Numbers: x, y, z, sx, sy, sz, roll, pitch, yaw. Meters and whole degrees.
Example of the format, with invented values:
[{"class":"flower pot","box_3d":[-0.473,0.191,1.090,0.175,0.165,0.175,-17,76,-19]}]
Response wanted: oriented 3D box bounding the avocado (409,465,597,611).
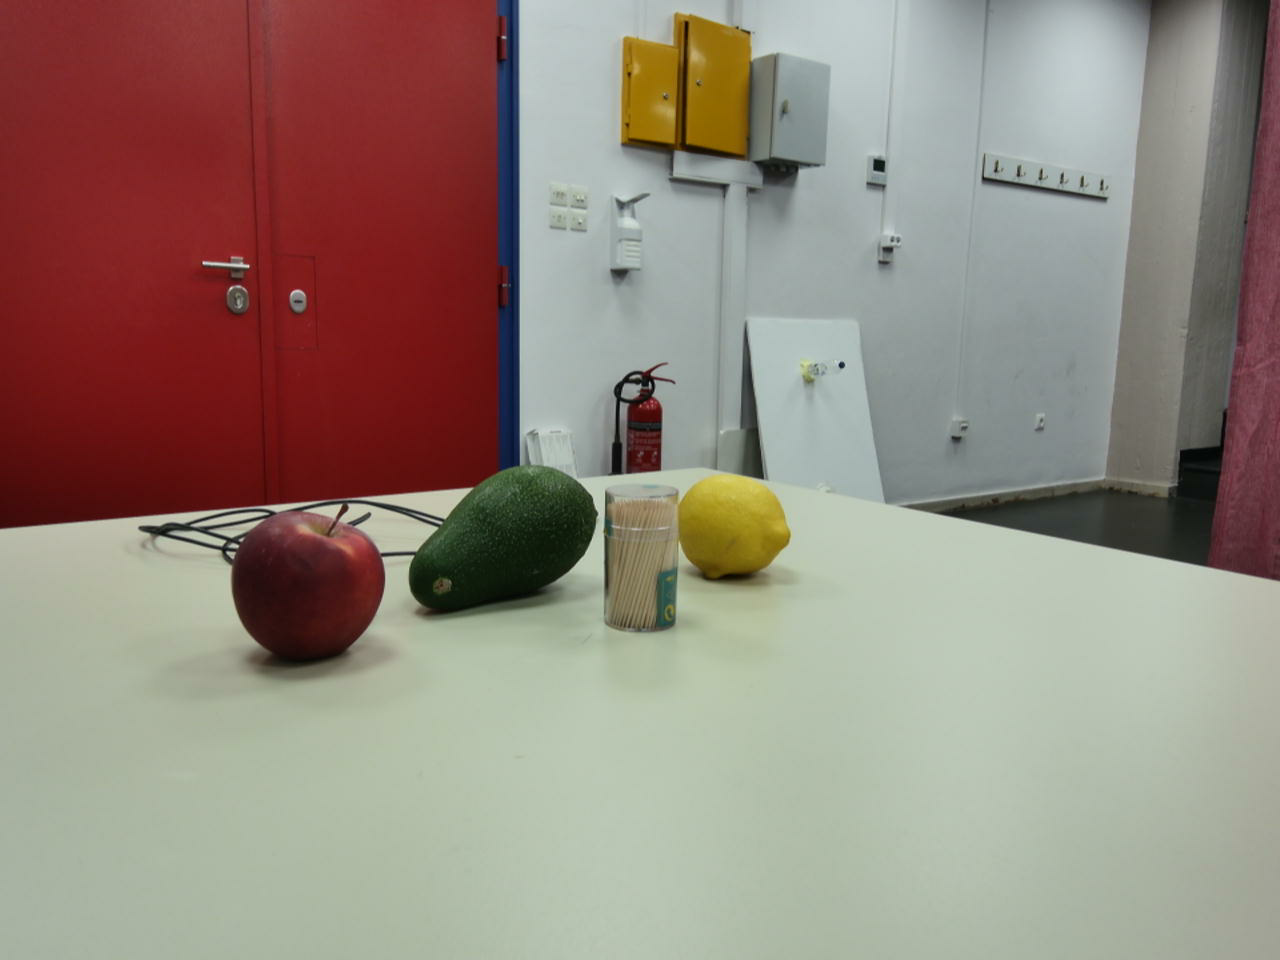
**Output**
[{"class":"avocado","box_3d":[-0.083,0.030,0.588,0.123,0.076,0.074,-4,8,-30]}]
